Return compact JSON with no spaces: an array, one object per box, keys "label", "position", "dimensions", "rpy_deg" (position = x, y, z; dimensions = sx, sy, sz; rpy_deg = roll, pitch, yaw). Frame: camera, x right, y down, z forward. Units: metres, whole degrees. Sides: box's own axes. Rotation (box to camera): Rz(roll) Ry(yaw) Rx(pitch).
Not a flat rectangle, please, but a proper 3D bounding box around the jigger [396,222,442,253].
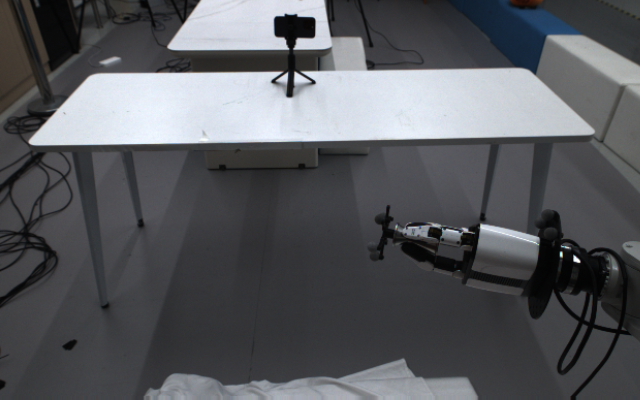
[{"label":"jigger","position":[0.157,0.056,0.753],"dimensions":[0.071,0.043,0.043],"rpy_deg":[10,35,15]}]
